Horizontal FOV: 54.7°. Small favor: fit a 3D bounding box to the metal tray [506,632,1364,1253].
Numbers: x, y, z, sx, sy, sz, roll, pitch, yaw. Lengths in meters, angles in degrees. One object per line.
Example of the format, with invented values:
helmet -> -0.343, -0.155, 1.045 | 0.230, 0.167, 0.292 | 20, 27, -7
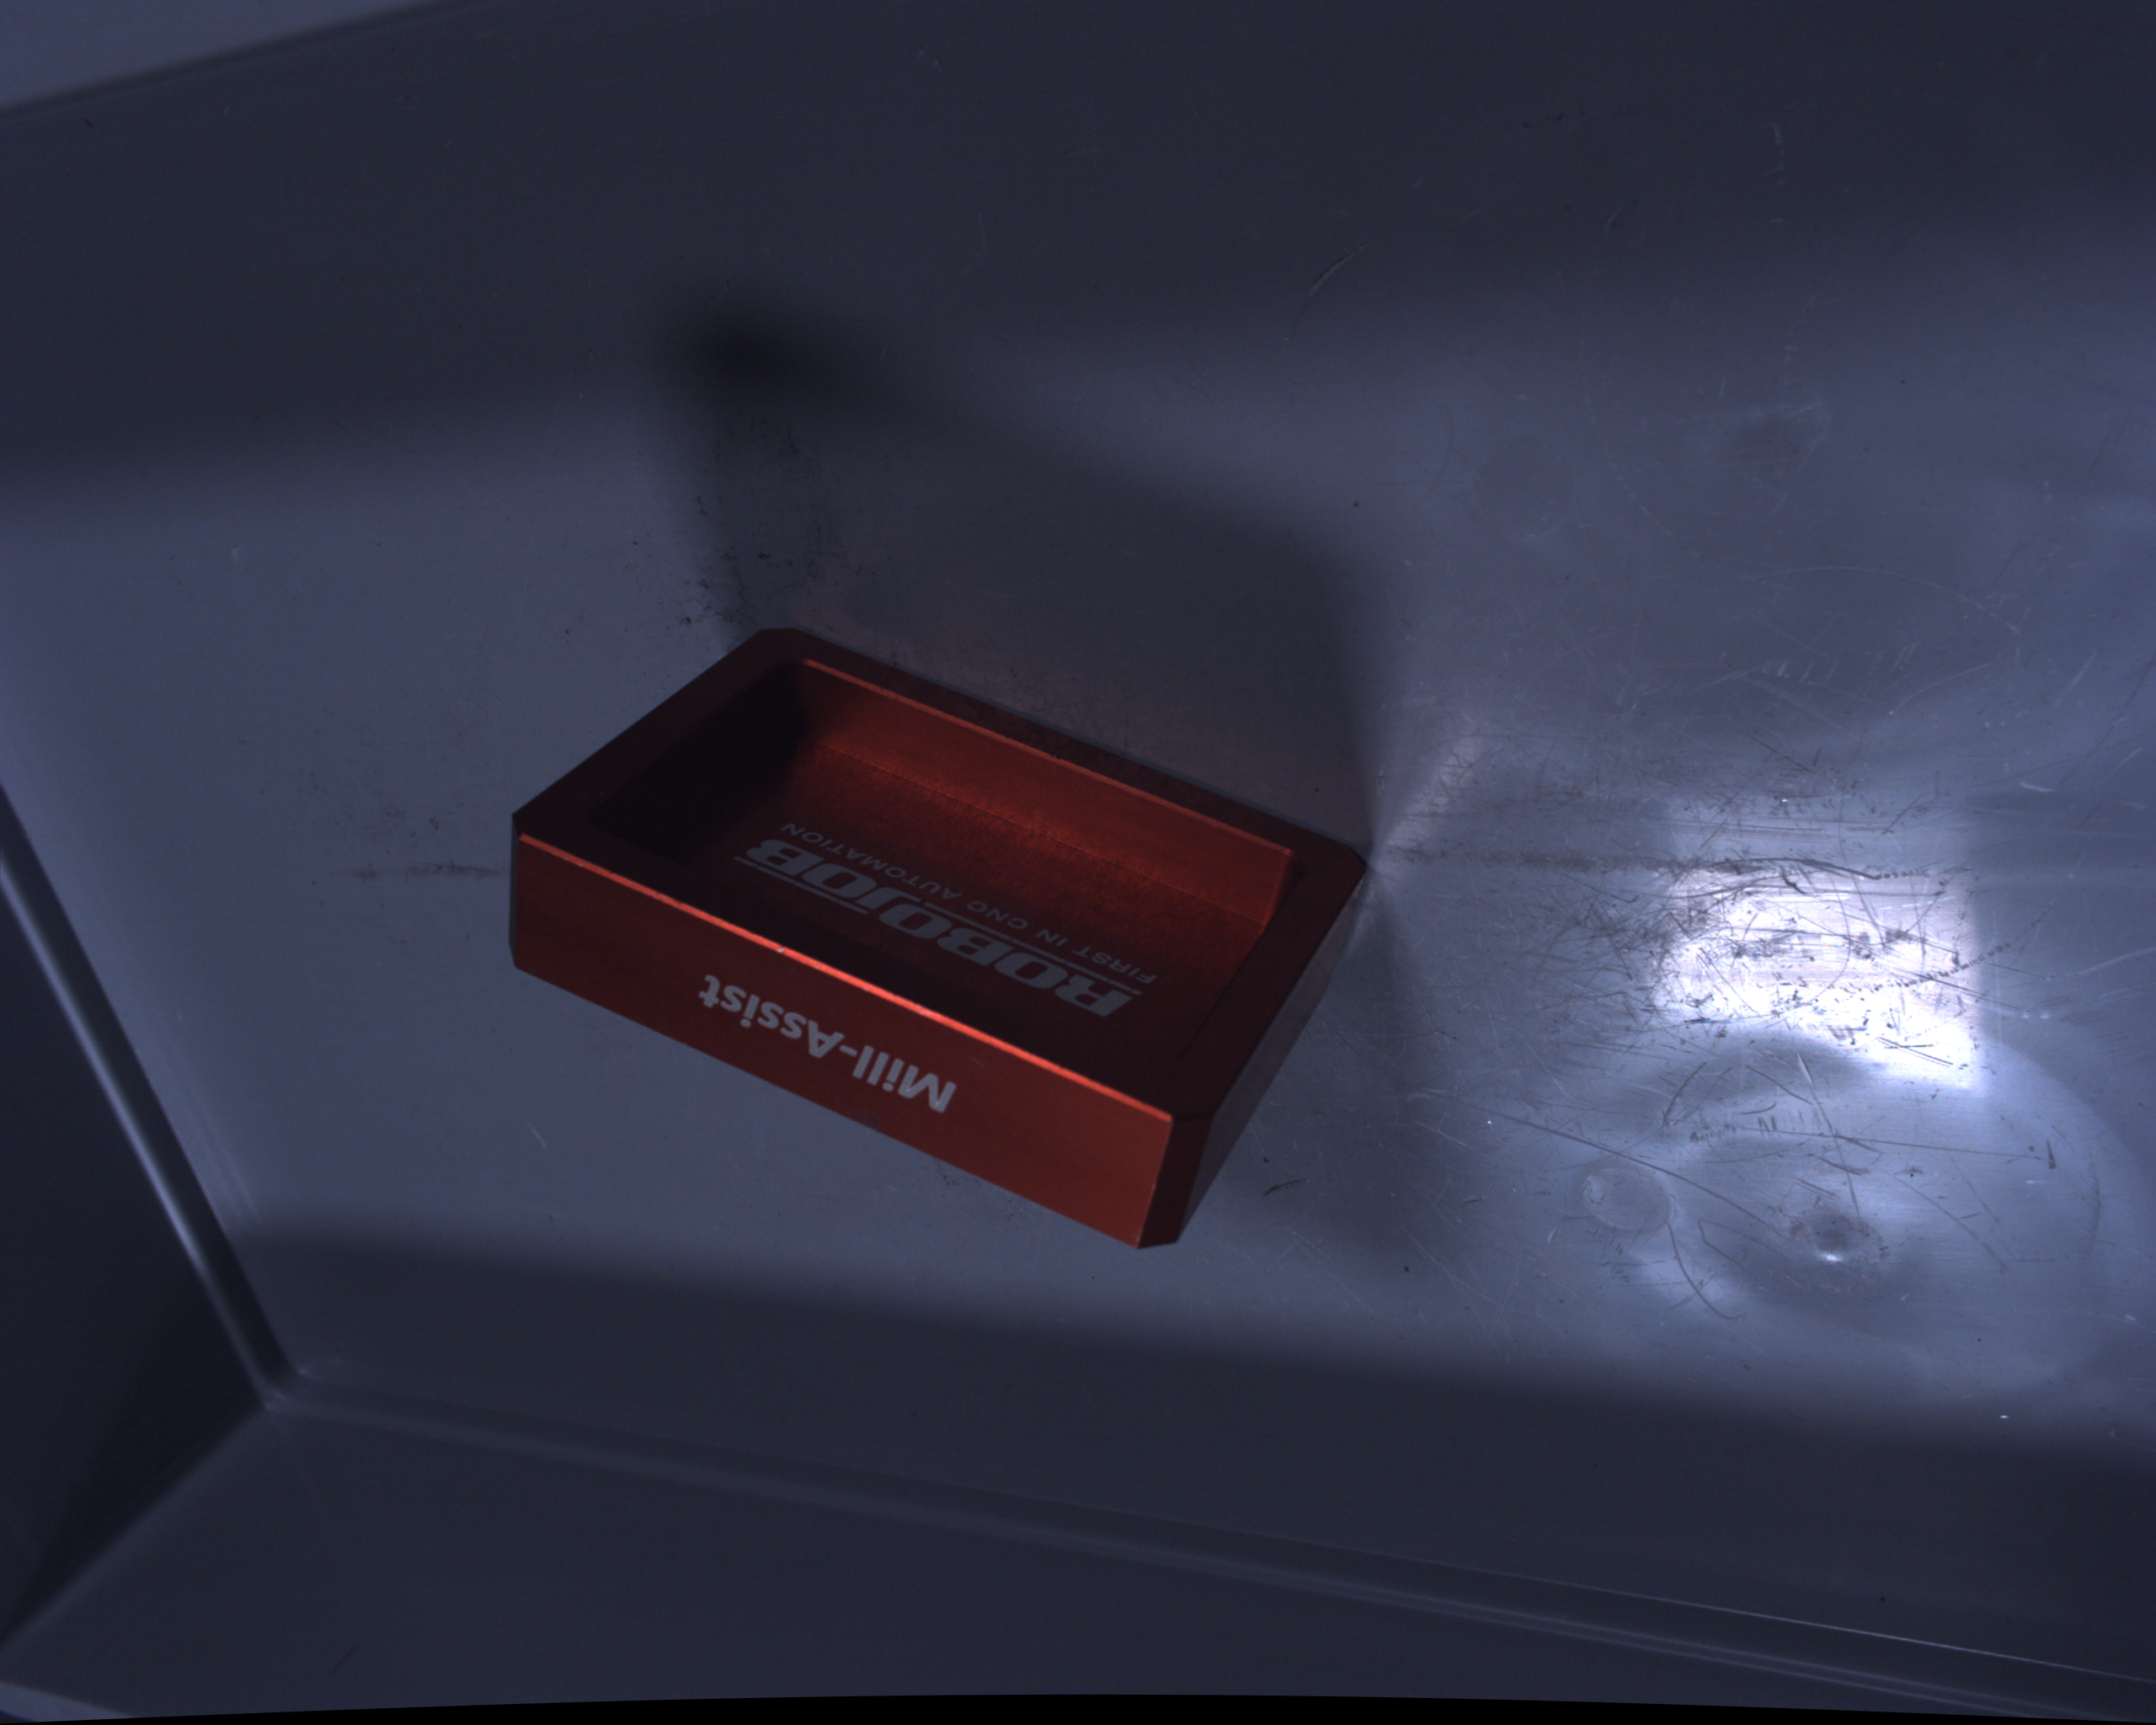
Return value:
metal tray -> -0.024, 0.009, 0.379 | 0.130, 0.090, 0.030 | 22, 127, 13
